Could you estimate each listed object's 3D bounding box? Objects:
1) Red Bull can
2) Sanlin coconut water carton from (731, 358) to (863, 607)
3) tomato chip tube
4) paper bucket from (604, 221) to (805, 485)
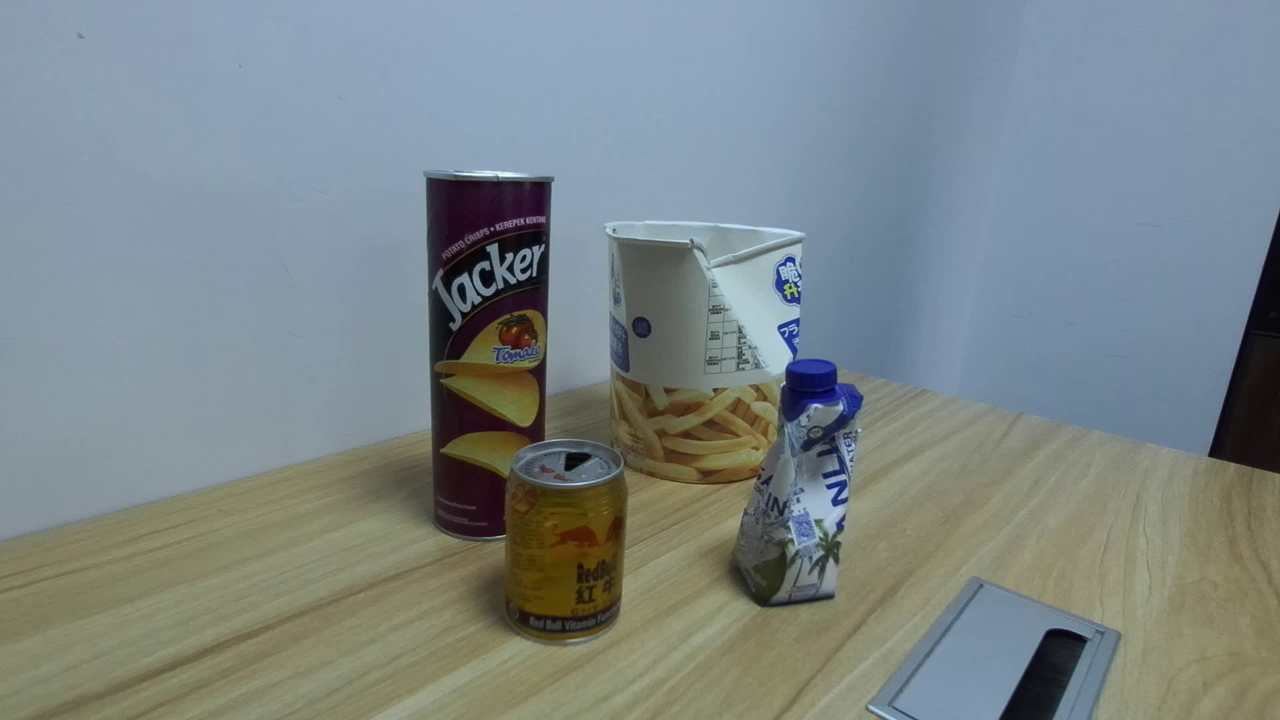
[{"bbox_3d":[-0.040,0.097,0.387,0.068,0.093,0.068,4,15,-1],"label":"Red Bull can"},{"bbox_3d":[0.103,0.072,0.416,0.069,0.144,0.056,7,21,-19],"label":"Sanlin coconut water carton"},{"bbox_3d":[-0.099,-0.003,0.472,0.080,0.234,0.076,0,15,-13],"label":"tomato chip tube"},{"bbox_3d":[0.049,-0.010,0.597,0.169,0.202,0.163,4,17,12],"label":"paper bucket"}]
